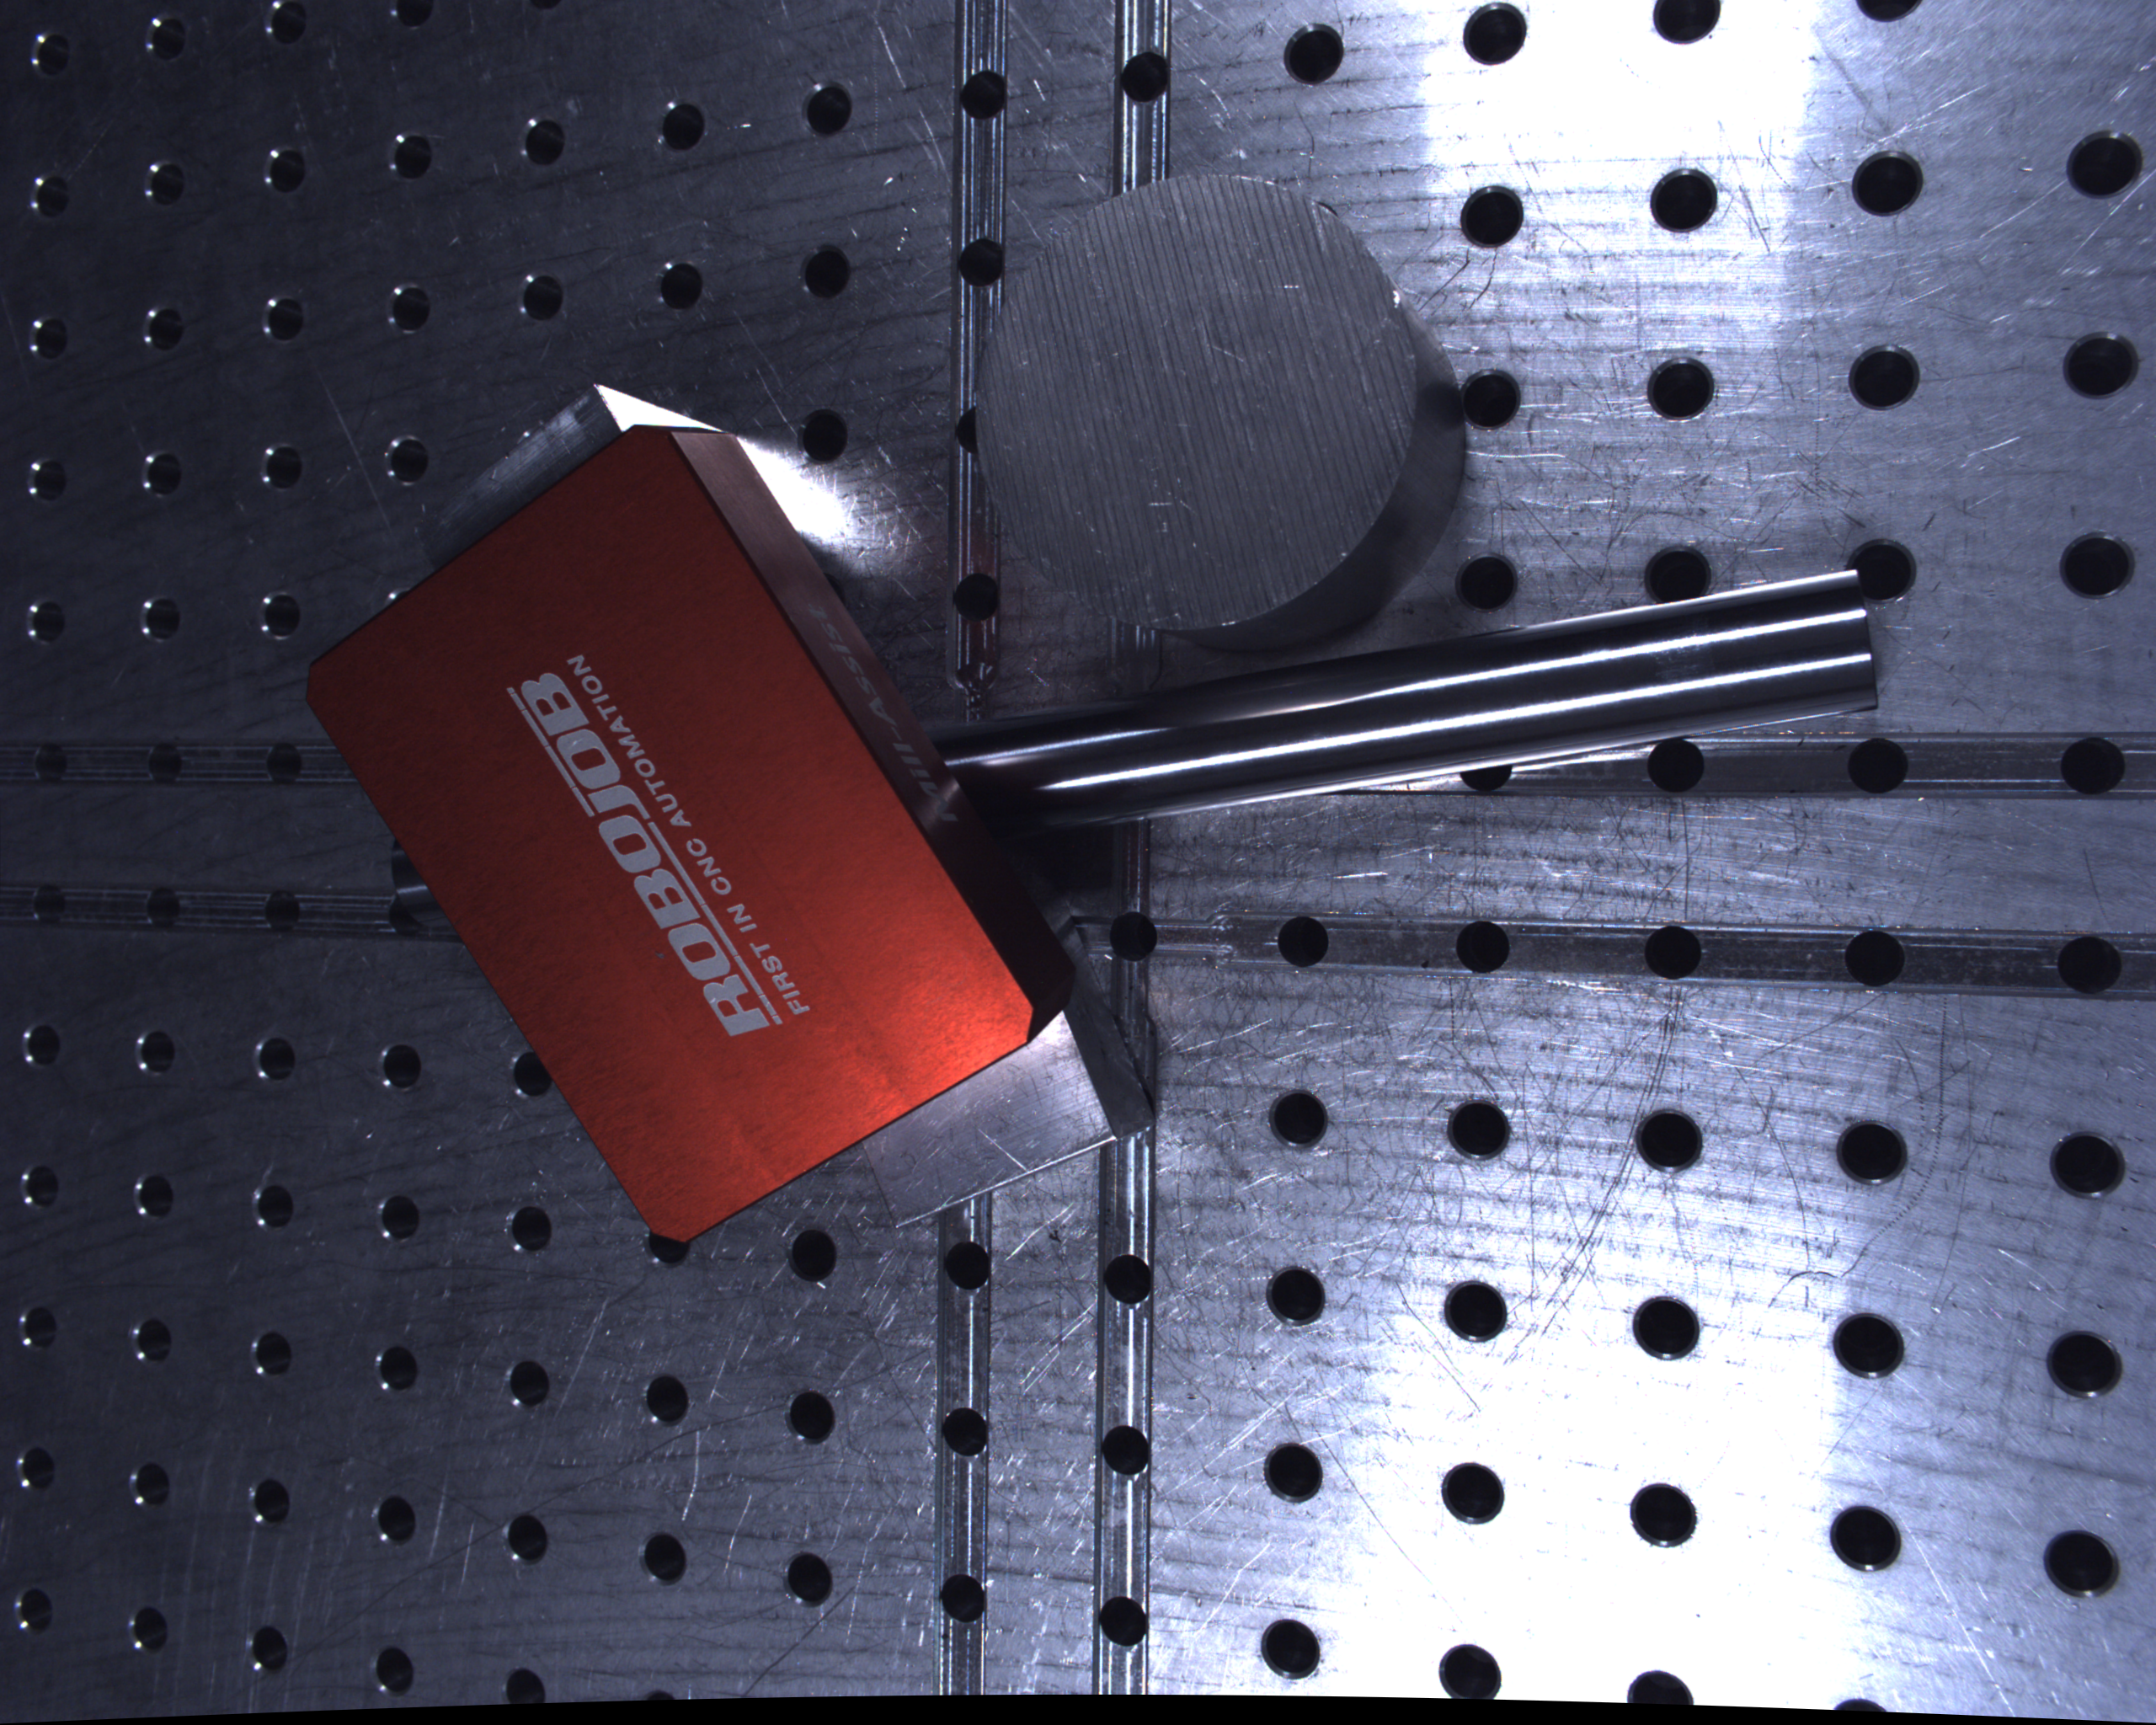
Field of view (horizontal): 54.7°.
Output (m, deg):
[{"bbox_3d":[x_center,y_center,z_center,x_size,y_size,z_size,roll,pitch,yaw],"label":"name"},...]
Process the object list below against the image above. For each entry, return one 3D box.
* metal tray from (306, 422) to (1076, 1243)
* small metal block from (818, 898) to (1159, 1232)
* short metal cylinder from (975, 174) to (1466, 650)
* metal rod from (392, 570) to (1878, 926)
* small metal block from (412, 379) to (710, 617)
[{"bbox_3d":[-0.073,-0.005,0.393,0.090,0.030,0.130,-32,91,17],"label":"metal tray"},{"bbox_3d":[-0.019,0.040,0.417,0.050,0.025,0.050,-25,82,18],"label":"small metal block"},{"bbox_3d":[0.028,-0.081,0.388,0.080,0.050,0.079,0,90,19],"label":"short metal cylinder"},{"bbox_3d":[-0.003,-0.019,0.413,0.301,0.025,0.025,-8,87,19],"label":"metal rod"},{"bbox_3d":[-0.099,-0.070,0.432,0.050,0.050,0.025,-33,80,17],"label":"small metal block"}]
